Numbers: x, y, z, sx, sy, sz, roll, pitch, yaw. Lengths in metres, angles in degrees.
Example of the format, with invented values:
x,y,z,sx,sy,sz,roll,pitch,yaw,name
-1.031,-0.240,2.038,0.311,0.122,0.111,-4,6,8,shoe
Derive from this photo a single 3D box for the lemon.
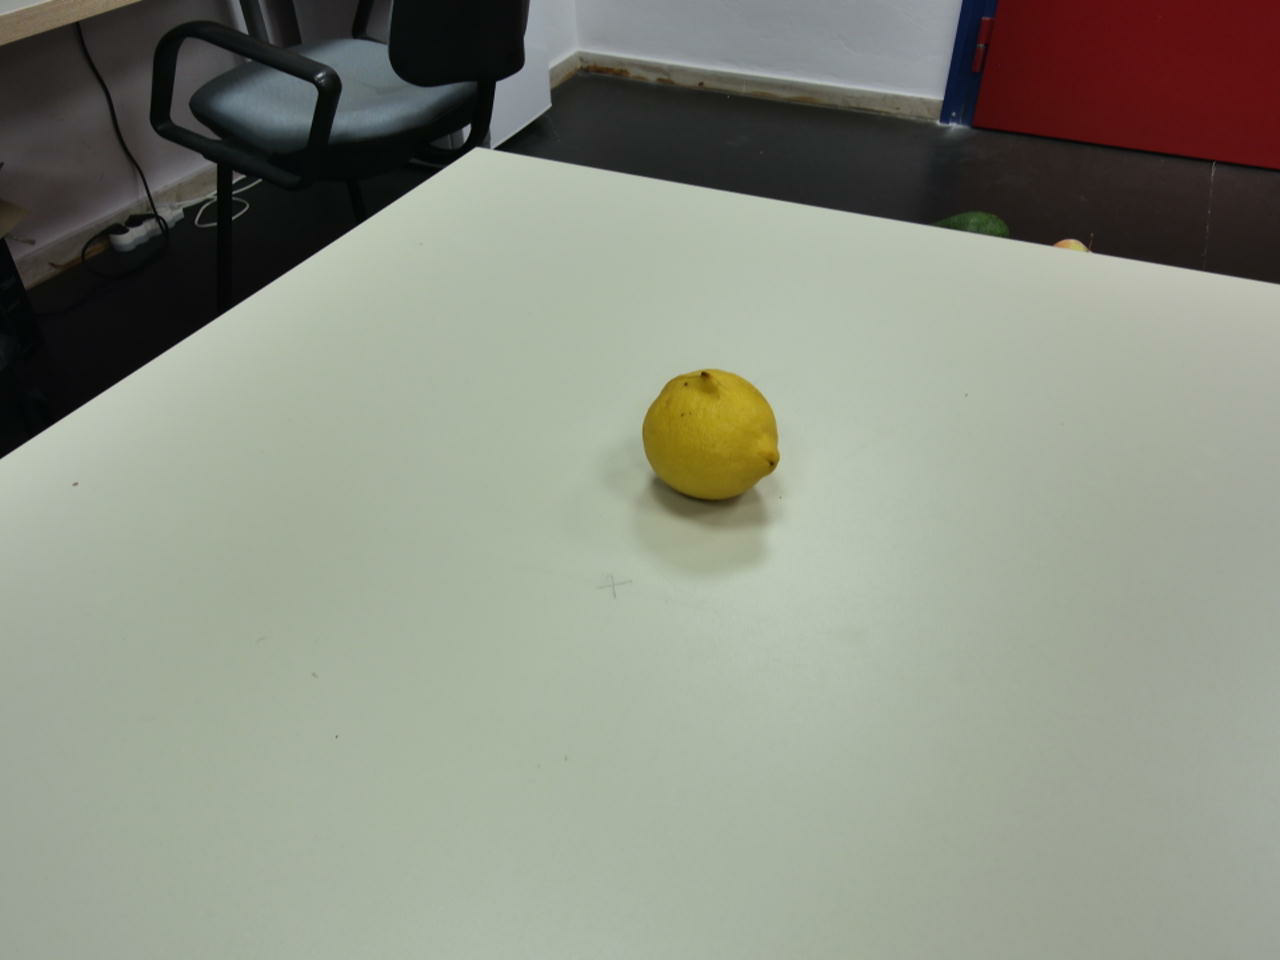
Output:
x,y,z,sx,sy,sz,roll,pitch,yaw,name
0.037,-0.027,0.528,0.070,0.071,0.071,-5,38,-6,lemon
